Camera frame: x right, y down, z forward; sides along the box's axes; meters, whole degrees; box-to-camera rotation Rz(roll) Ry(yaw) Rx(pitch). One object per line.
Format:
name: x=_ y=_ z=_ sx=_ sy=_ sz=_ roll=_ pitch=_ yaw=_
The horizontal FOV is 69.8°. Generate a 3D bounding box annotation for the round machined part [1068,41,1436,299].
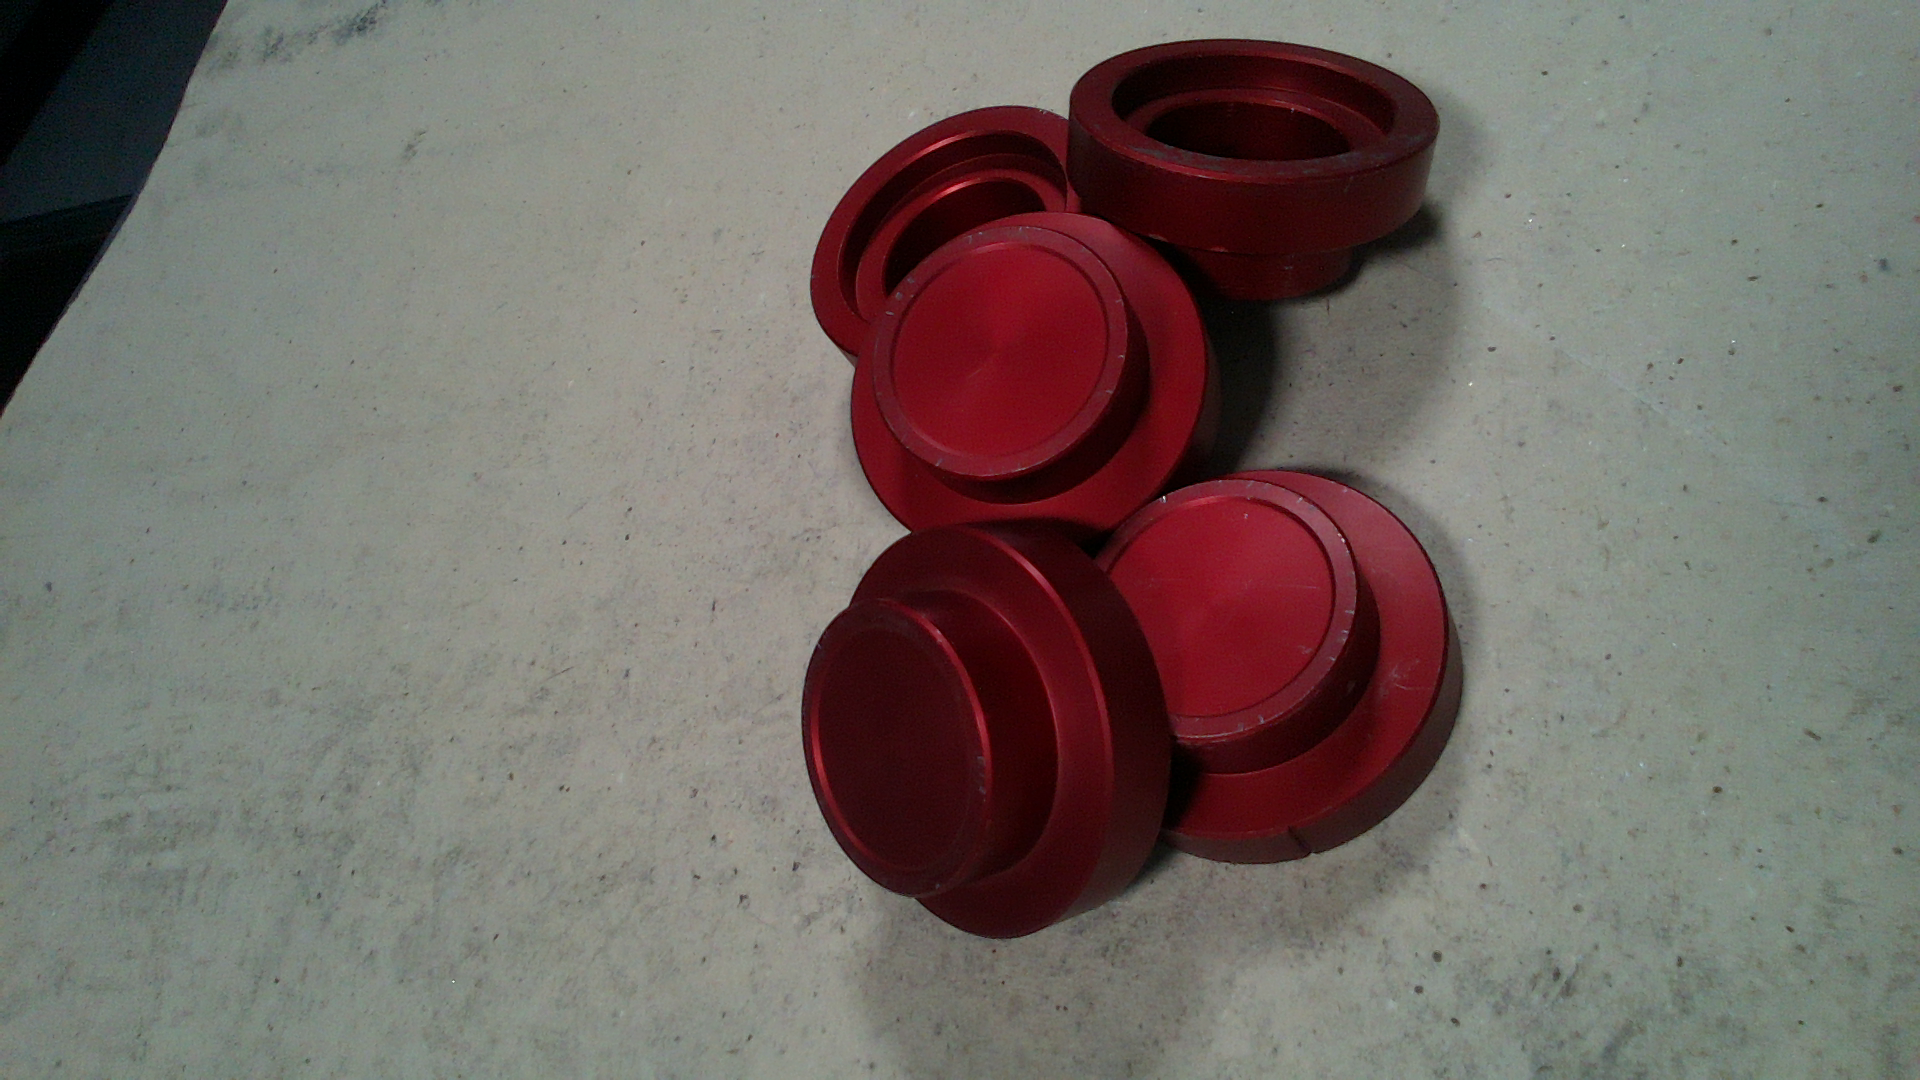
round machined part: x=0.079 y=-0.102 z=0.386 sx=0.098 sy=0.042 sz=0.098 roll=0 pitch=39 yaw=0

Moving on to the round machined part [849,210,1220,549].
round machined part: x=0.016 y=-0.043 z=0.358 sx=0.098 sy=0.042 sz=0.098 roll=-6 pitch=70 yaw=18

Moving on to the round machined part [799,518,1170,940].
round machined part: x=-0.002 y=0.045 z=0.323 sx=0.098 sy=0.042 sz=0.098 roll=8 pitch=101 yaw=47

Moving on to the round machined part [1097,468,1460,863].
round machined part: x=0.067 y=0.024 z=0.332 sx=0.098 sy=0.042 sz=0.098 roll=-13 pitch=56 yaw=21

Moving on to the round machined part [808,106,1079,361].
round machined part: x=0.005 y=-0.085 z=0.433 sx=0.098 sy=0.042 sz=0.098 roll=-13 pitch=56 yaw=21
